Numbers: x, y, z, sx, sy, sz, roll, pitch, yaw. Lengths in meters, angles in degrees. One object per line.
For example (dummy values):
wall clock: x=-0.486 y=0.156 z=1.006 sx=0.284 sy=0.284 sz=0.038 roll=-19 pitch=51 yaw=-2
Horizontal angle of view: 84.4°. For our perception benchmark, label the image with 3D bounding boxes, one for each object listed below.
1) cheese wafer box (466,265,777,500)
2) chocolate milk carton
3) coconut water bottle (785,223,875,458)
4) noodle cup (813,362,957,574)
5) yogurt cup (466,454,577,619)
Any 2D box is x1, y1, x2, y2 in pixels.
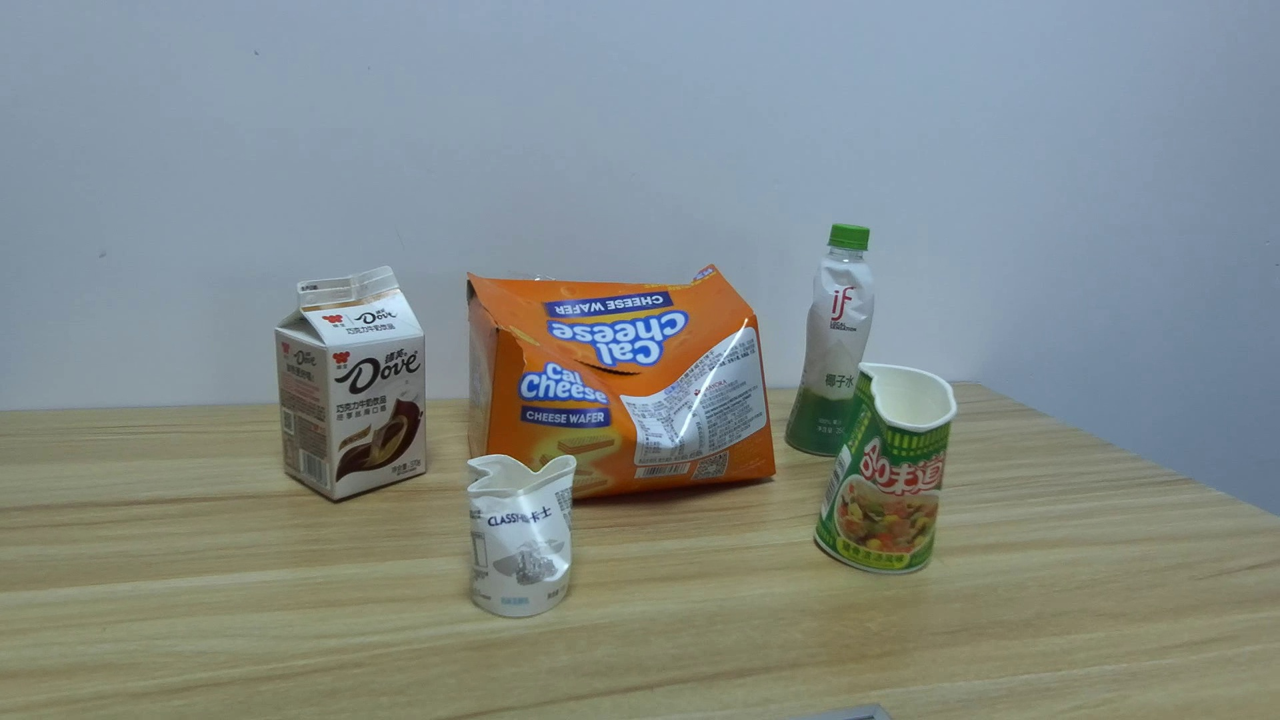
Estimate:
cheese wafer box: x=-0.013 y=0.012 z=0.536 sx=0.220 sy=0.145 sz=0.190 roll=-2 pitch=15 yaw=-18
chocolate milk carton: x=-0.201 y=0.011 z=0.495 sx=0.073 sy=0.148 sz=0.076 roll=14 pitch=17 yaw=37
coconut water bottle: x=0.164 y=-0.017 z=0.591 sx=0.067 sy=0.187 sz=0.067 roll=3 pitch=15 yaw=-1
noodle cup: x=0.150 y=0.066 z=0.431 sx=0.070 sy=0.111 sz=0.115 roll=12 pitch=18 yaw=28
yogurt cup: x=-0.063 y=0.090 z=0.376 sx=0.055 sy=0.072 sz=0.055 roll=1 pitch=15 yaw=-6
